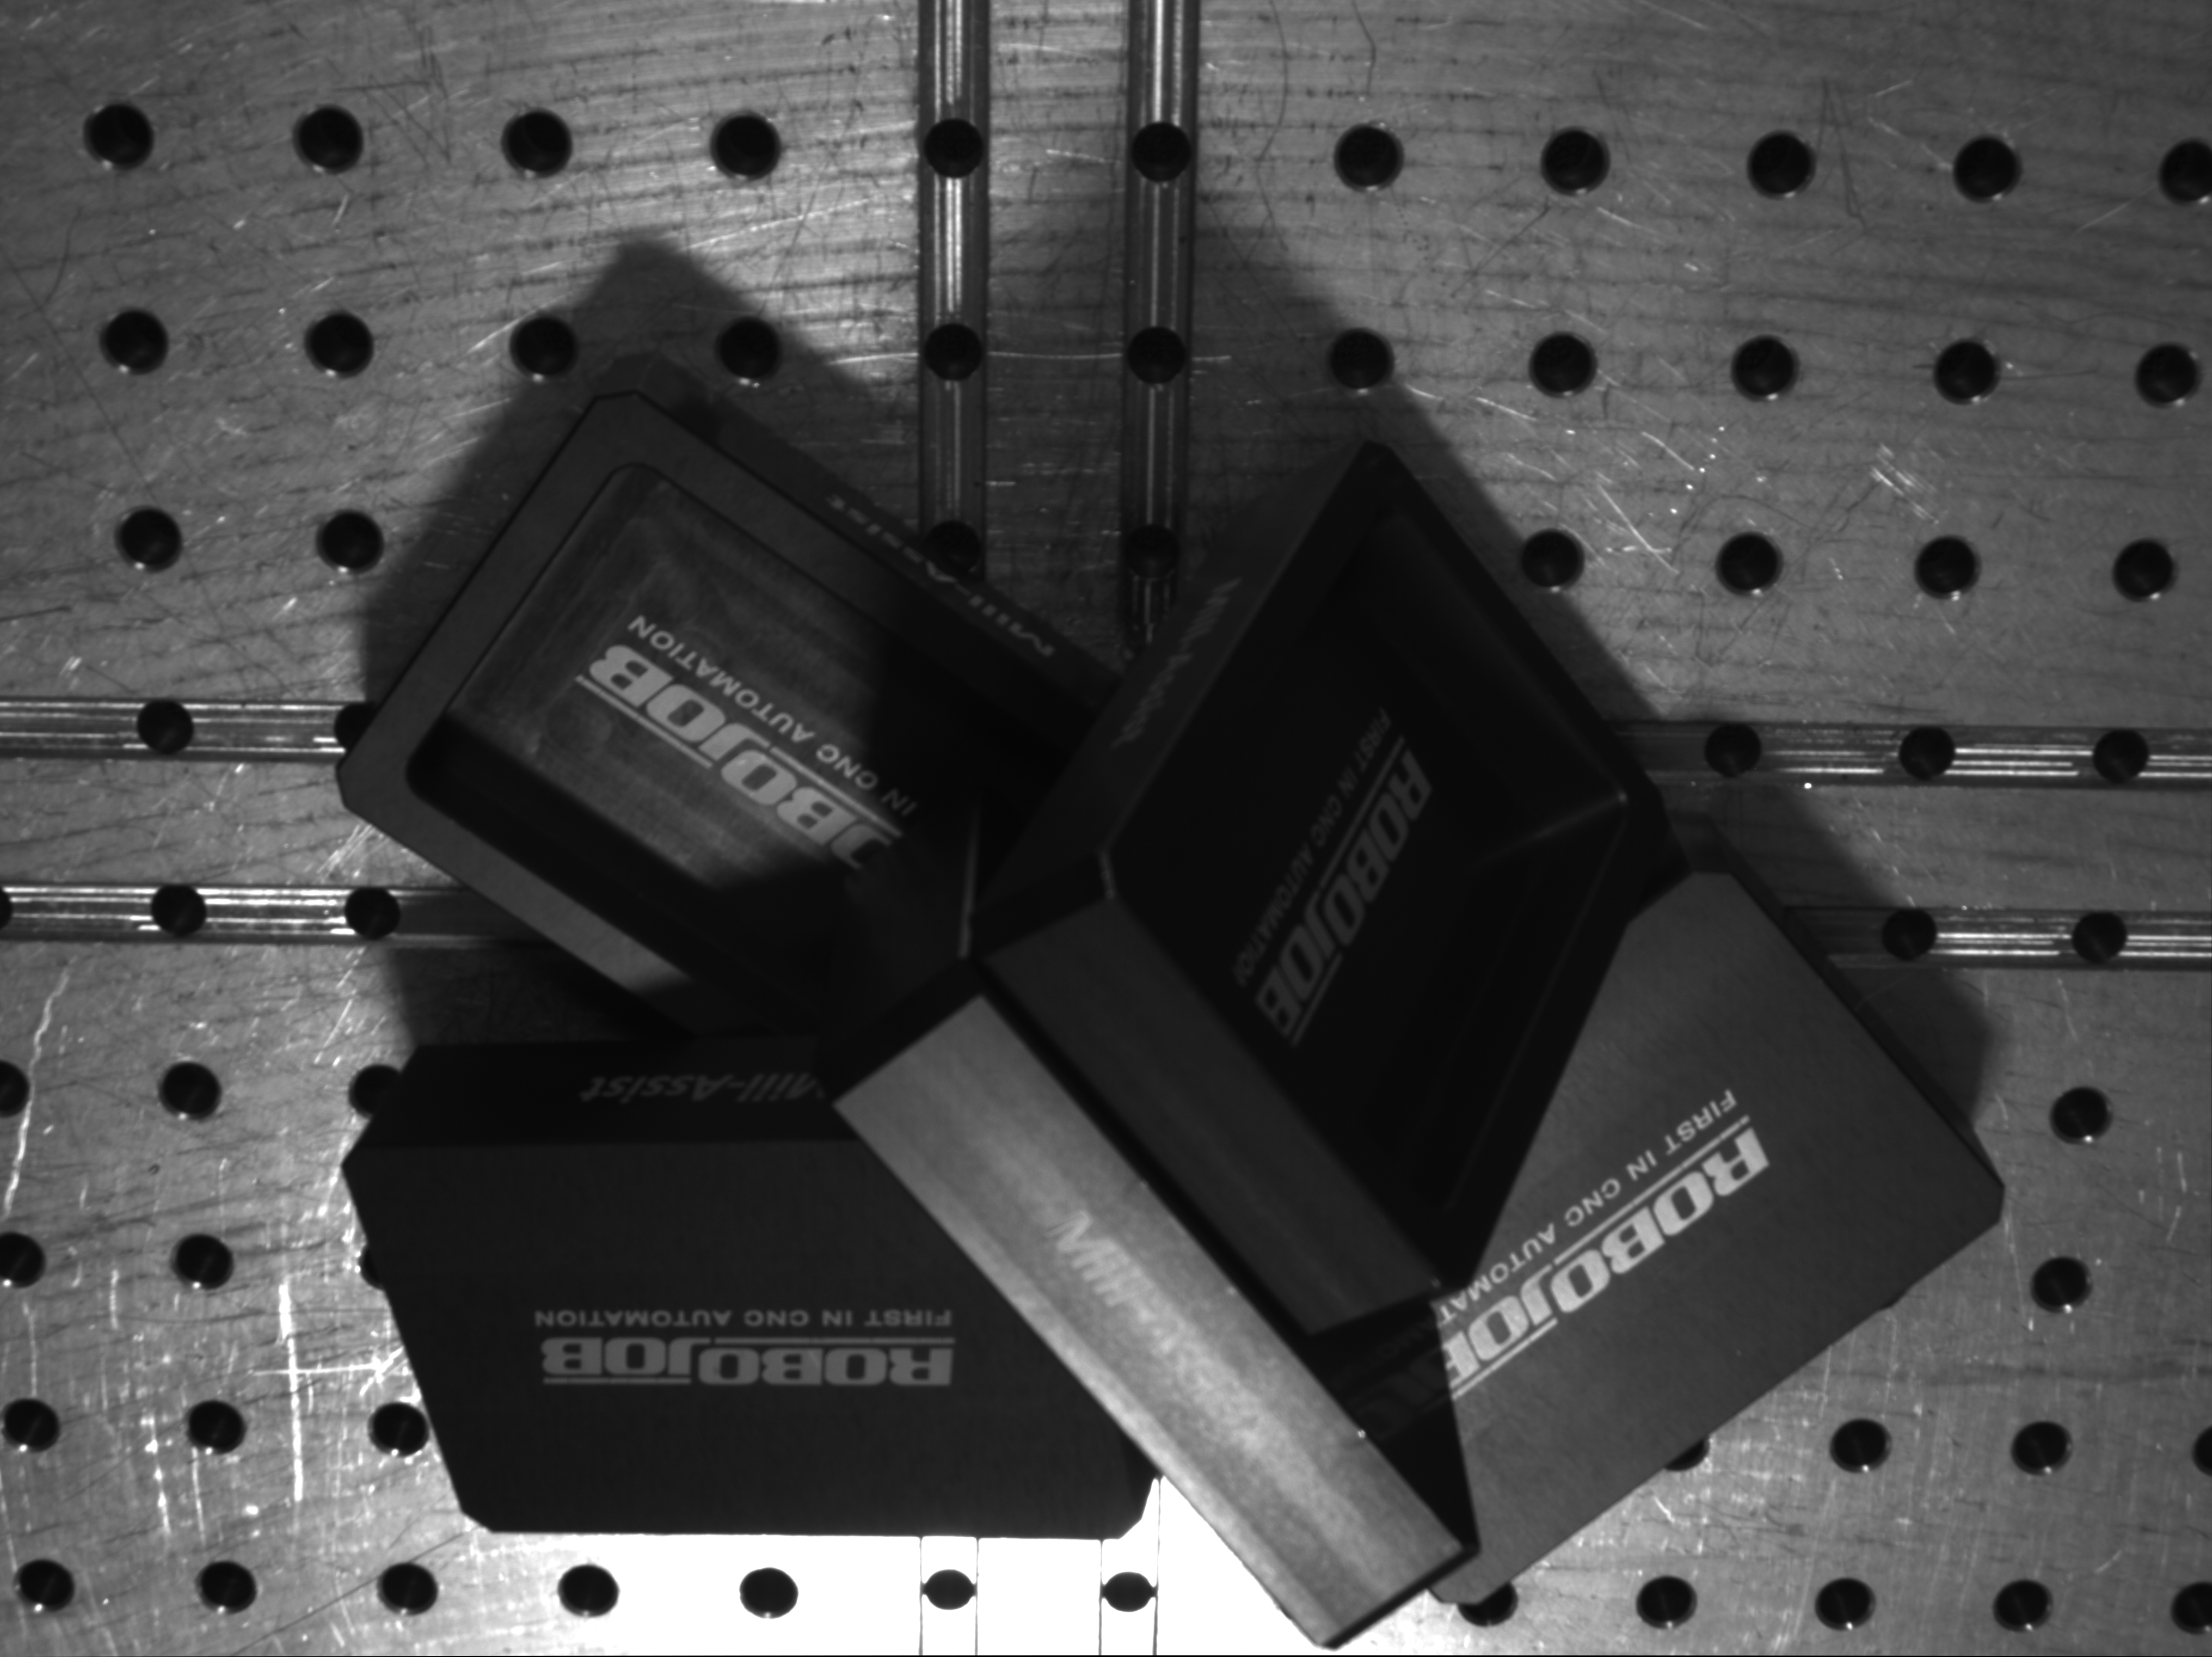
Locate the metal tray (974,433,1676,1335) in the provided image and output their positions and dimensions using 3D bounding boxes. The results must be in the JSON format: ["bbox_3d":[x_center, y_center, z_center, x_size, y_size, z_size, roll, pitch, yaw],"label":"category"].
[{"bbox_3d":[0.040,0.006,0.593,0.030,0.130,0.090,-27,111,39],"label":"metal tray"}]

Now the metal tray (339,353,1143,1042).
[{"bbox_3d":[-0.054,-0.010,0.639,0.130,0.030,0.090,34,106,-12],"label":"metal tray"}]

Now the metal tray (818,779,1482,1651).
[{"bbox_3d":[0.008,0.061,0.601,0.030,0.090,0.130,-36,106,12],"label":"metal tray"}]

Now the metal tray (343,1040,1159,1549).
[{"bbox_3d":[-0.059,0.083,0.647,0.130,0.030,0.090,-2,121,16],"label":"metal tray"}]

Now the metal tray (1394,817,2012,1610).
[{"bbox_3d":[0.086,0.071,0.669,0.130,0.030,0.090,-39,106,12],"label":"metal tray"}]
